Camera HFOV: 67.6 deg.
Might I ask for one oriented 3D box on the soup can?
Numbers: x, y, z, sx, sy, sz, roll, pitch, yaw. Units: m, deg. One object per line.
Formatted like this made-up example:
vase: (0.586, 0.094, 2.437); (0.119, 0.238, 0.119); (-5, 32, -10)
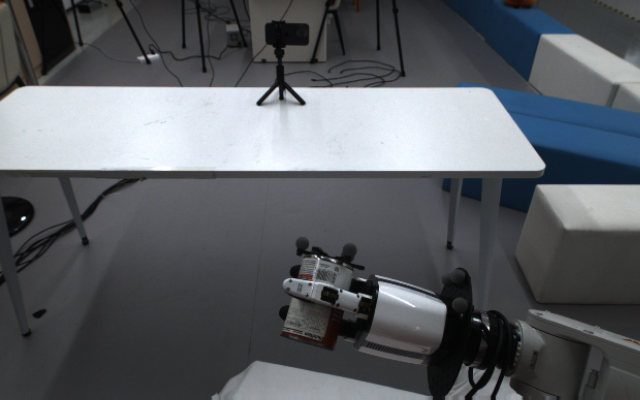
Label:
soup can: (0.000, 0.125, 0.592); (0.067, 0.067, 0.101); (11, 72, 13)
